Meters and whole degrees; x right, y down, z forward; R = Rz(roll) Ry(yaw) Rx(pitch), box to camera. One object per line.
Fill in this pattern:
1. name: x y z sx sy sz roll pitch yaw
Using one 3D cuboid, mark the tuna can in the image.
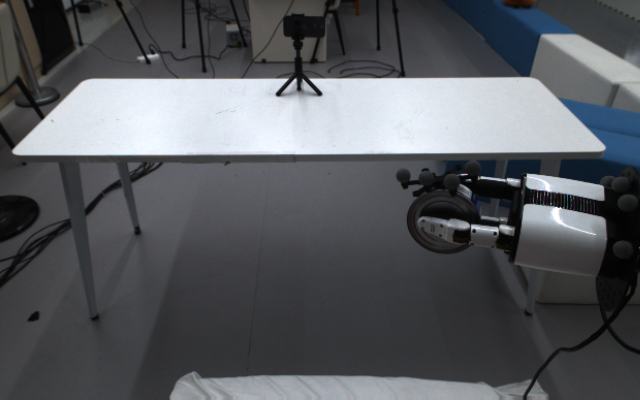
1. tuna can: 0.152 0.018 0.585 0.085 0.085 0.034 13 29 15
